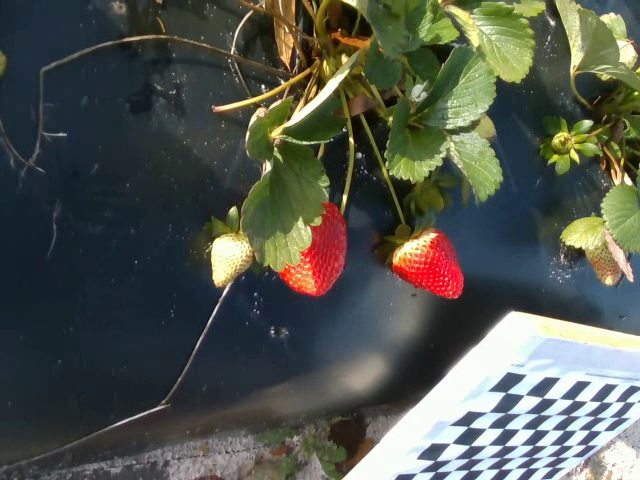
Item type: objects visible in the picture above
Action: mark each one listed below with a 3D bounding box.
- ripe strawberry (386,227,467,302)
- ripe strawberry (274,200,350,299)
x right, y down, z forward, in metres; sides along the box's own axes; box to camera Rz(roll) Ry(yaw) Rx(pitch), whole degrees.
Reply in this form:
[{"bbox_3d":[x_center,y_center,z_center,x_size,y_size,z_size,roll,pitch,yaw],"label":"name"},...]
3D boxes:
[{"bbox_3d":[0.054,0.013,0.275,0.037,0.039,0.033,-37,-22,27],"label":"ripe strawberry"},{"bbox_3d":[-0.002,0.004,0.234,0.035,0.036,0.041,3,-24,-22],"label":"ripe strawberry"}]
